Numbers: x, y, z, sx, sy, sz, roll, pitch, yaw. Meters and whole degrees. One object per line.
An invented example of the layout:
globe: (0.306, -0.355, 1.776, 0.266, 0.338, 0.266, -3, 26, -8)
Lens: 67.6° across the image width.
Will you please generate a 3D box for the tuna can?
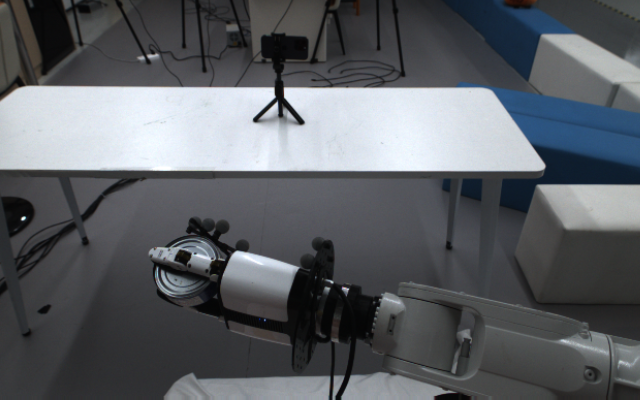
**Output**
tuna can: (-0.161, 0.088, 0.608, 0.085, 0.034, 0.085, -4, 56, 6)
